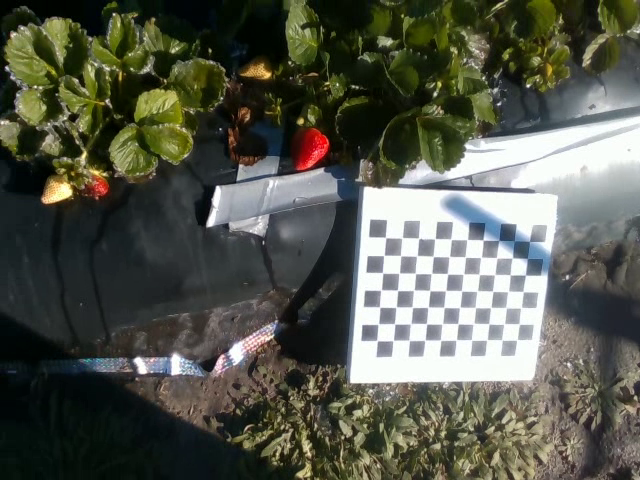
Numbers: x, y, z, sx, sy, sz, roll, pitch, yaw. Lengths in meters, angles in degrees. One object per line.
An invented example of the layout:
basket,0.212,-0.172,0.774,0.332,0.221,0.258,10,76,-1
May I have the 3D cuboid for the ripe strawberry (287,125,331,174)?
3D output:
ripe strawberry,-0.014,-0.114,0.682,0.061,0.065,0.058,35,-43,-18
